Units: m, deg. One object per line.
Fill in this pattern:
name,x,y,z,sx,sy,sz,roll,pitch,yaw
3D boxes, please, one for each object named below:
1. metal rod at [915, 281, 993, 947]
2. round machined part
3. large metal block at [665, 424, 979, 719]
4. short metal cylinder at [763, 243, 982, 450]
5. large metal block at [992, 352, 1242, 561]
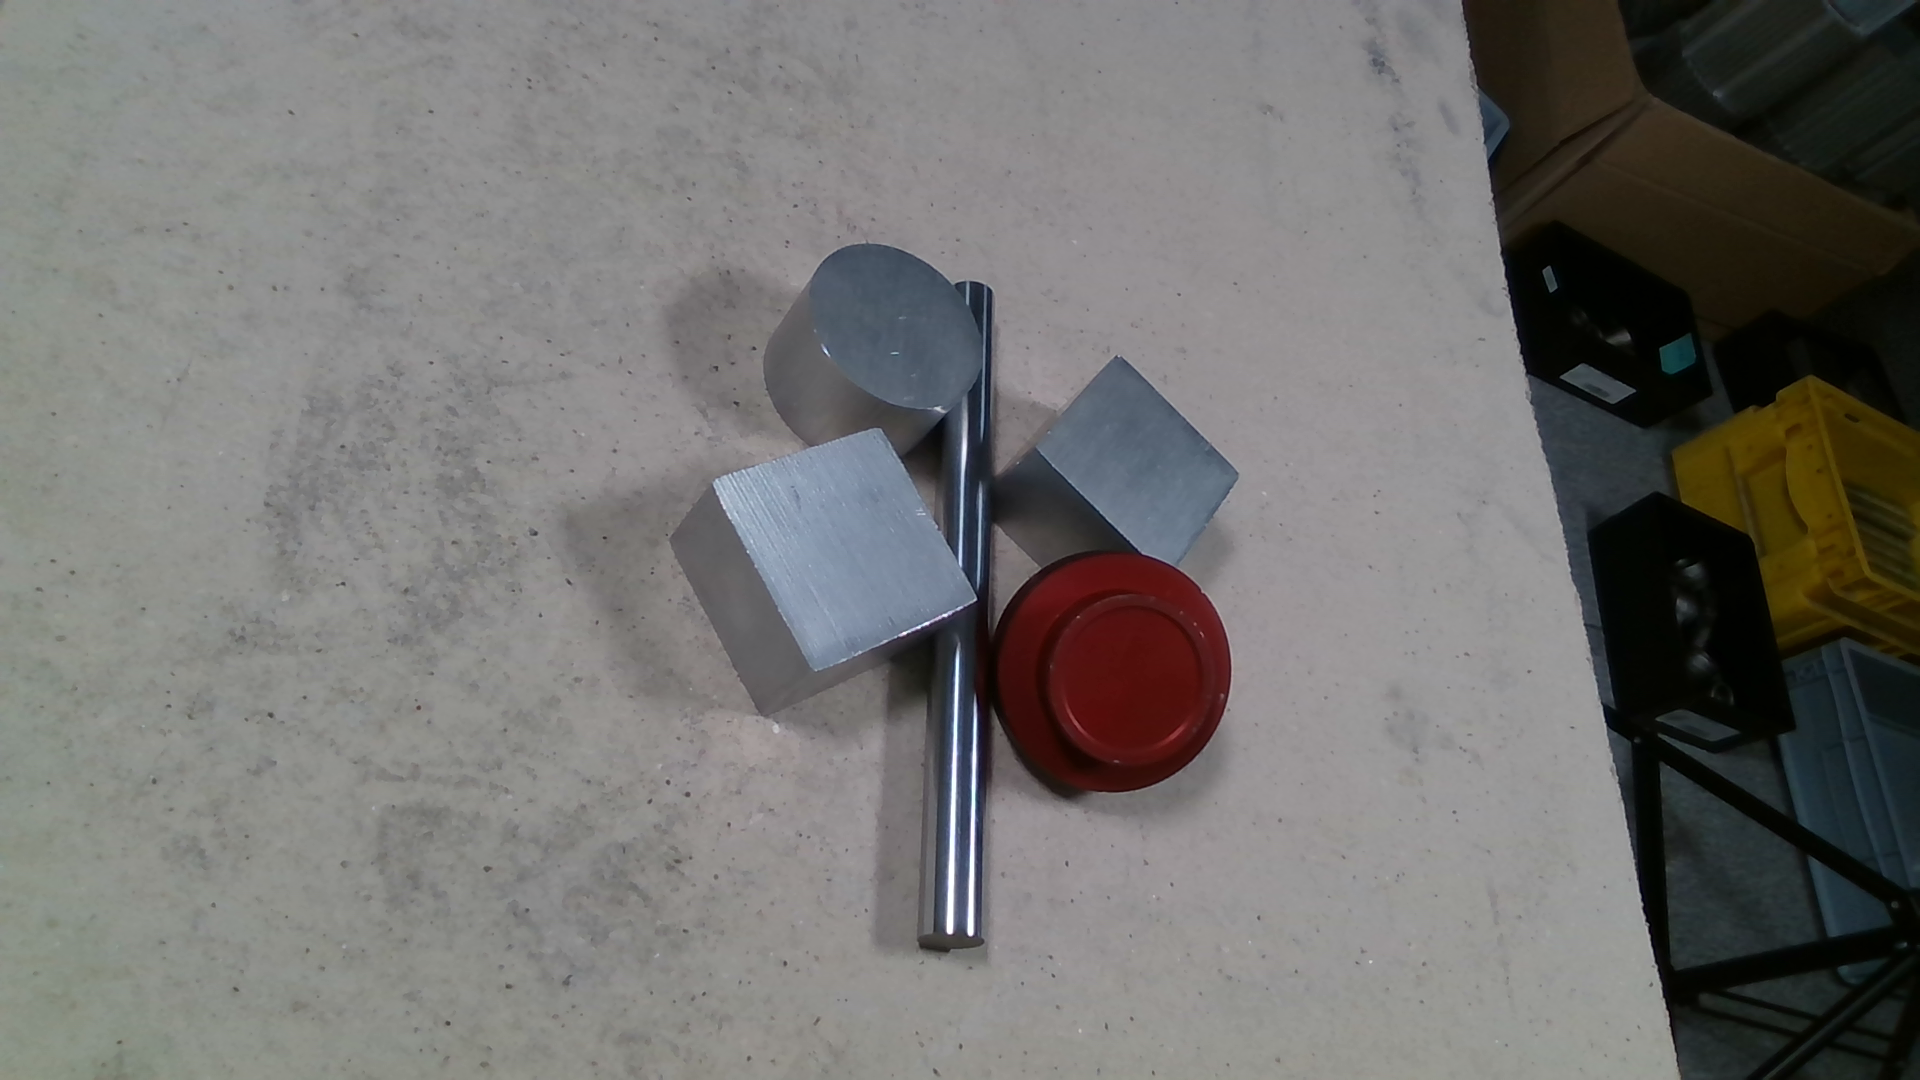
metal rod,0.000,0.016,0.579,0.025,0.025,0.299,16,58,-24
round machined part,0.064,0.053,0.556,0.098,0.042,0.098,0,89,-11
large metal block,-0.053,0.011,0.531,0.080,0.050,0.080,-22,78,-38
short metal cylinder,-0.038,-0.079,0.589,0.080,0.050,0.080,14,59,-25
large metal block,0.068,-0.024,0.622,0.080,0.050,0.080,45,51,-3
